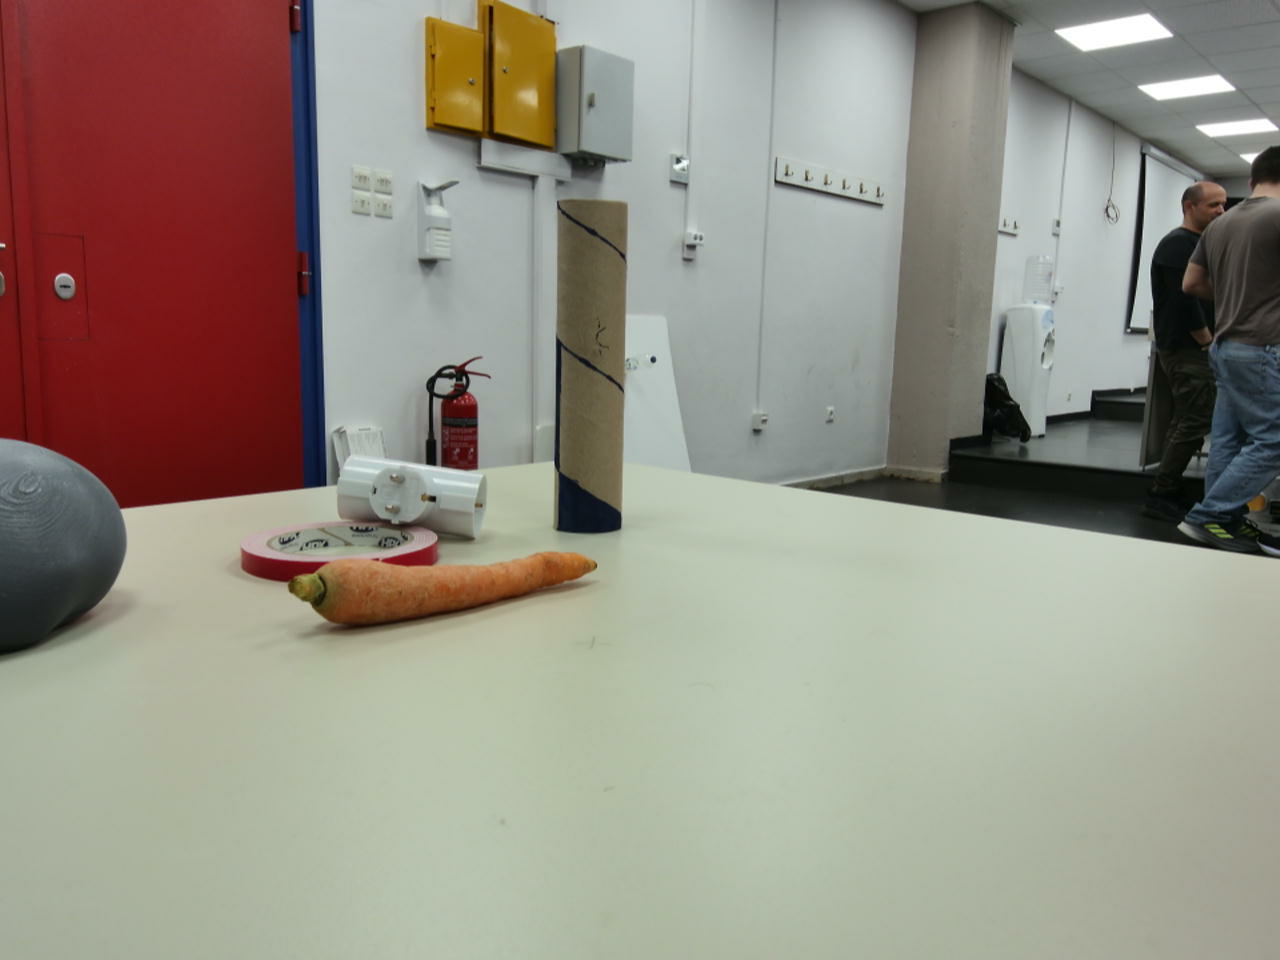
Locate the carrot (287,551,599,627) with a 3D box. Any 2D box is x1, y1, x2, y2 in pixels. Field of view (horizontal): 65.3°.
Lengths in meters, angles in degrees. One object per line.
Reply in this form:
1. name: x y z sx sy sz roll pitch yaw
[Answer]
1. carrot: -0.088 0.048 0.496 0.173 0.032 0.030 -6 8 -39
